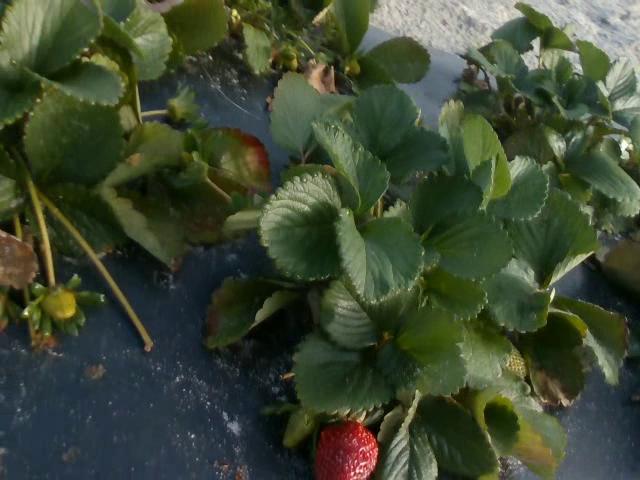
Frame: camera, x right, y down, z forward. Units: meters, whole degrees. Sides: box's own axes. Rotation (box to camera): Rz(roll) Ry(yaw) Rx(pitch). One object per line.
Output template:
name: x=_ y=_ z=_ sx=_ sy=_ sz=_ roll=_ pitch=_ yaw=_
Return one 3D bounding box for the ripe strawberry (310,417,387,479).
ripe strawberry: x=0.008 y=0.084 z=0.241 sx=0.029 sy=0.036 sz=0.021 roll=19 pitch=-37 yaw=-2
